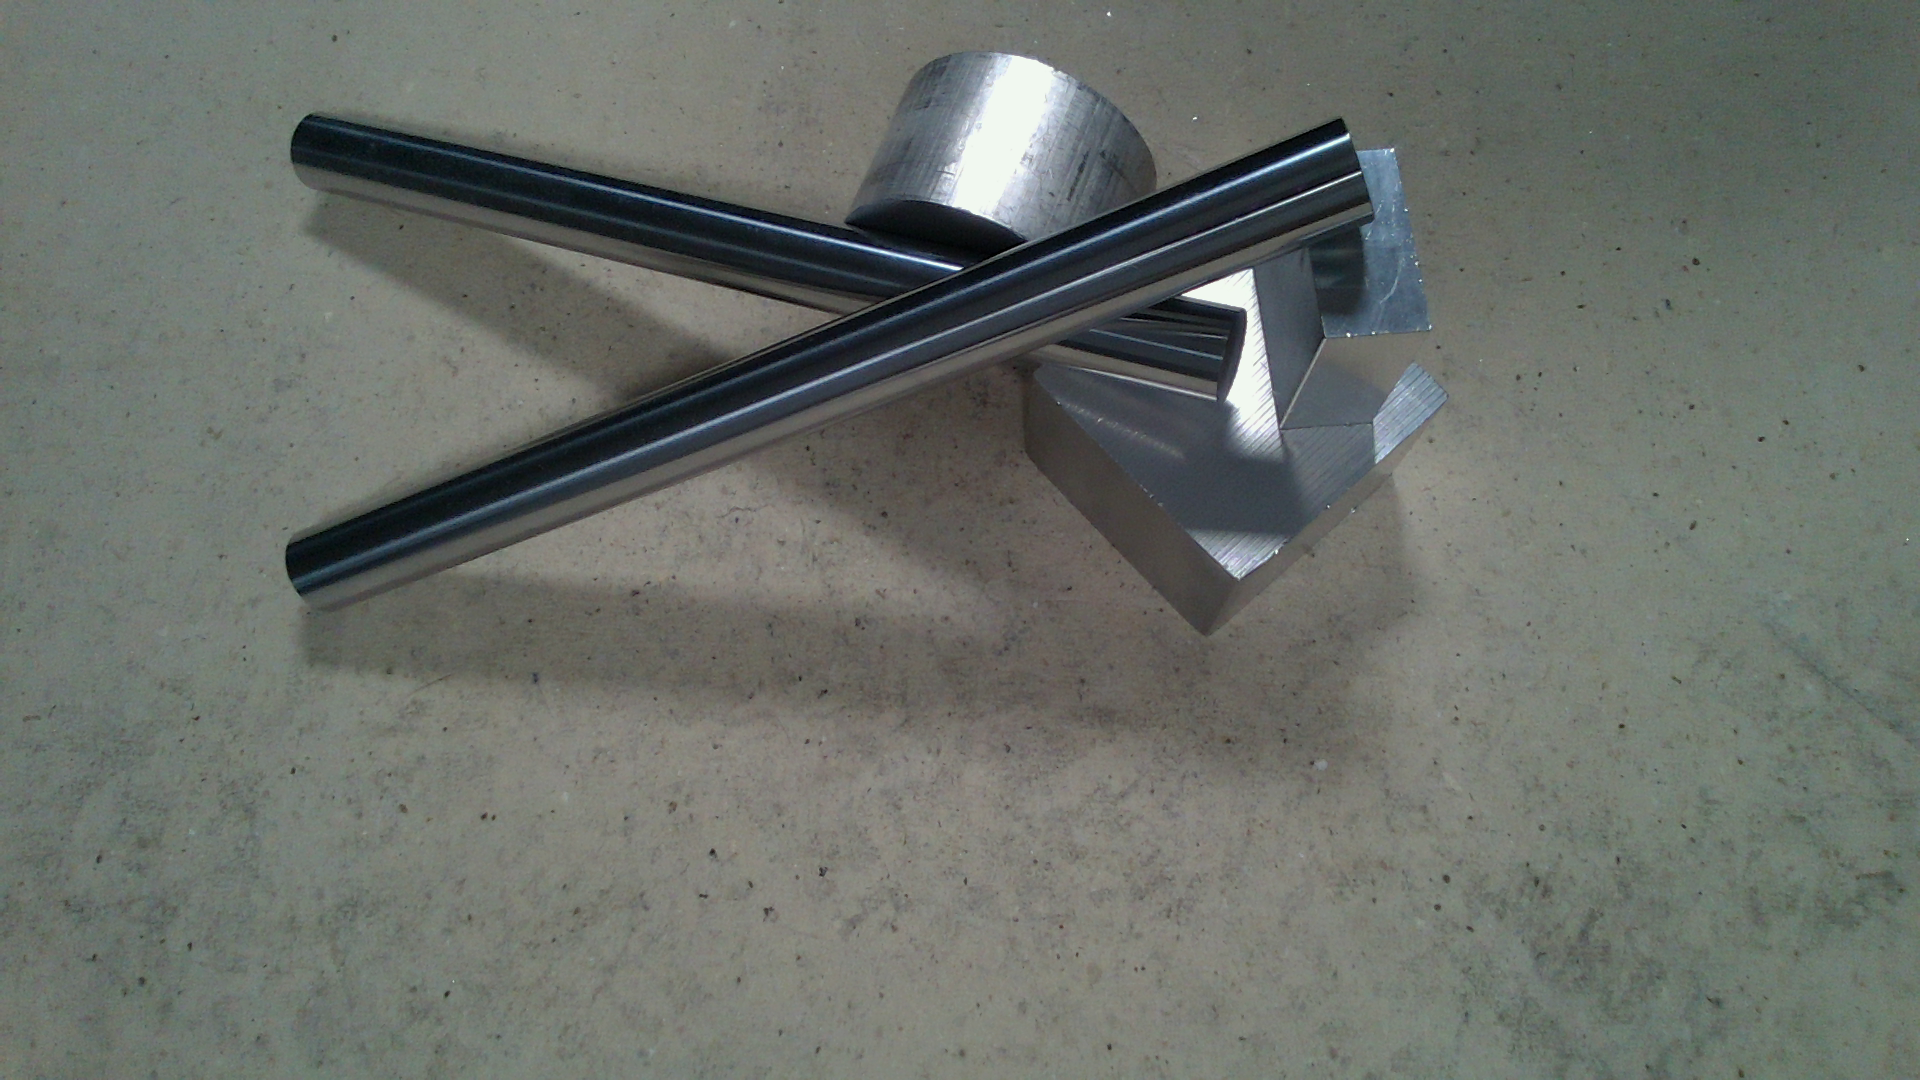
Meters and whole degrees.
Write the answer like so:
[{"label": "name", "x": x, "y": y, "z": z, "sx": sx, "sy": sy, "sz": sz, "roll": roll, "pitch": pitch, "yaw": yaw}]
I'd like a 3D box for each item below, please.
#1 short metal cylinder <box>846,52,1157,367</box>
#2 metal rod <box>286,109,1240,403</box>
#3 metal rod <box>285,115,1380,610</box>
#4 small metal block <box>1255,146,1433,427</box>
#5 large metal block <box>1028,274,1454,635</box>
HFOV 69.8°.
[{"label": "short metal cylinder", "x": 0.011, "y": -0.094, "z": 0.401, "sx": 0.080, "sy": 0.080, "sz": 0.050, "roll": 20, "pitch": 71, "yaw": 7}, {"label": "metal rod", "x": -0.069, "y": -0.086, "z": 0.396, "sx": 0.299, "sy": 0.025, "sz": 0.025, "roll": 16, "pitch": 70, "yaw": 18}, {"label": "metal rod", "x": -0.045, "y": -0.038, "z": 0.352, "sx": 0.299, "sy": 0.025, "sz": 0.025, "roll": -19, "pitch": 70, "yaw": 15}, {"label": "small metal block", "x": 0.095, "y": -0.063, "z": 0.348, "sx": 0.025, "sy": 0.050, "sz": 0.050, "roll": -4, "pitch": 70, "yaw": -1}, {"label": "large metal block", "x": 0.076, "y": -0.033, "z": 0.392, "sx": 0.080, "sy": 0.050, "sz": 0.080, "roll": -40, "pitch": 74, "yaw": -12}]
